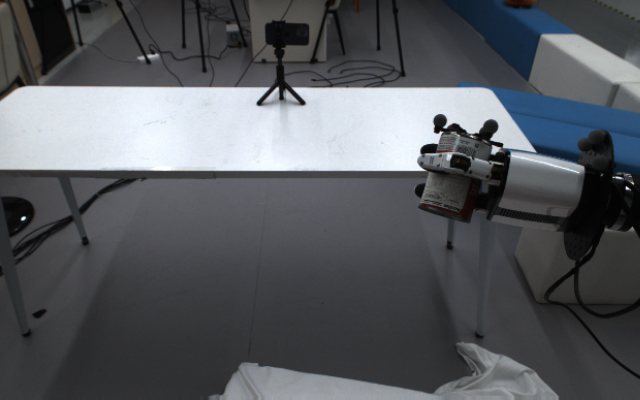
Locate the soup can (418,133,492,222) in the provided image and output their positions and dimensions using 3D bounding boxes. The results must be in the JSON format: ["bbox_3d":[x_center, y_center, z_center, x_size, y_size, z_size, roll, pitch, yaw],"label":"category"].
[{"bbox_3d":[0.173,-0.030,0.620,0.067,0.101,0.067,18,-2,1],"label":"soup can"}]
